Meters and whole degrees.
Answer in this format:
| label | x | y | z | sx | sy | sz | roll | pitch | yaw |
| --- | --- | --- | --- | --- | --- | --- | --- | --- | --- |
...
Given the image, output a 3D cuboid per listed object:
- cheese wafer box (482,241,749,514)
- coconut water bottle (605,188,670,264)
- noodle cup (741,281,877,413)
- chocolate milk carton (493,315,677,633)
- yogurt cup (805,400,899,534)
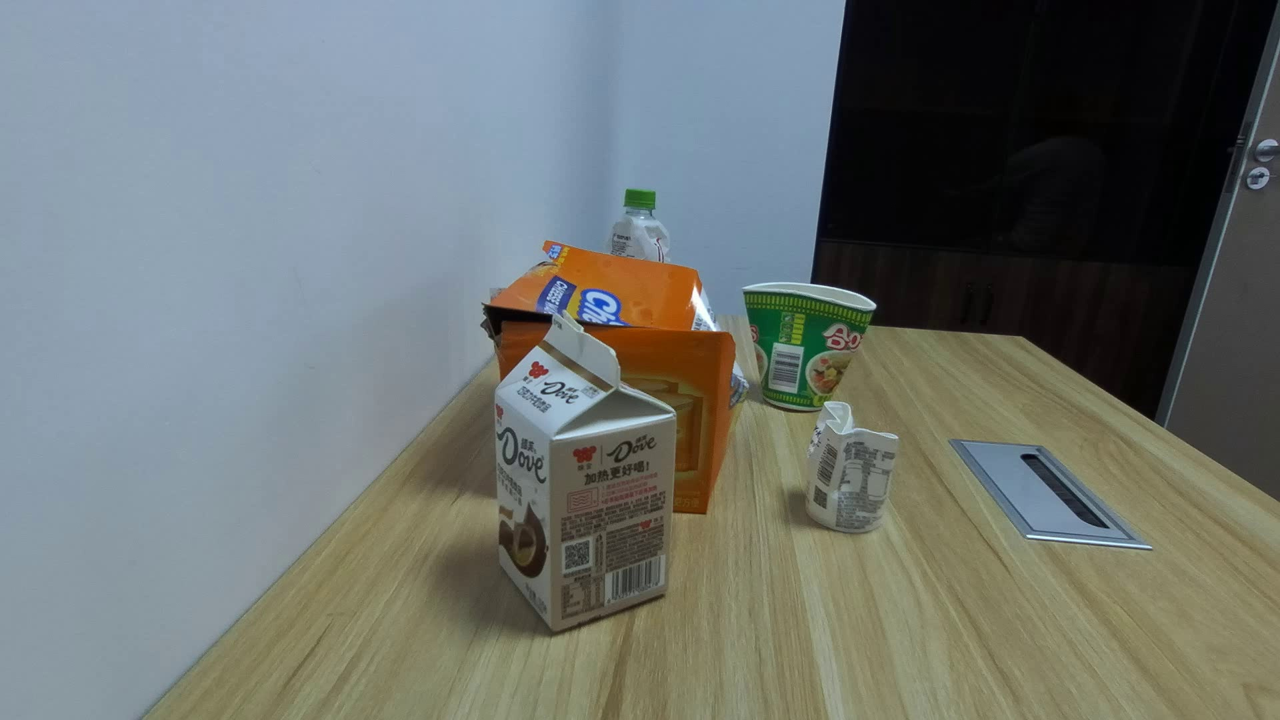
| label | x | y | z | sx | sy | sz | roll | pitch | yaw |
| --- | --- | --- | --- | --- | --- | --- | --- | --- | --- |
| cheese wafer box | -0.007 | -0.001 | 0.558 | 0.191 | 0.145 | 0.219 | 3 | 18 | 0 |
| coconut water bottle | 0.000 | -0.081 | 0.727 | 0.067 | 0.187 | 0.067 | 0 | 14 | 0 |
| noodle cup | 0.156 | -0.014 | 0.673 | 0.070 | 0.111 | 0.114 | -14 | 25 | -39 |
| chocolate milk carton | -0.030 | 0.053 | 0.379 | 0.074 | 0.148 | 0.075 | -9 | 21 | -31 |
| yogurt cup | 0.139 | 0.071 | 0.474 | 0.055 | 0.072 | 0.055 | 4 | 20 | 10 |
